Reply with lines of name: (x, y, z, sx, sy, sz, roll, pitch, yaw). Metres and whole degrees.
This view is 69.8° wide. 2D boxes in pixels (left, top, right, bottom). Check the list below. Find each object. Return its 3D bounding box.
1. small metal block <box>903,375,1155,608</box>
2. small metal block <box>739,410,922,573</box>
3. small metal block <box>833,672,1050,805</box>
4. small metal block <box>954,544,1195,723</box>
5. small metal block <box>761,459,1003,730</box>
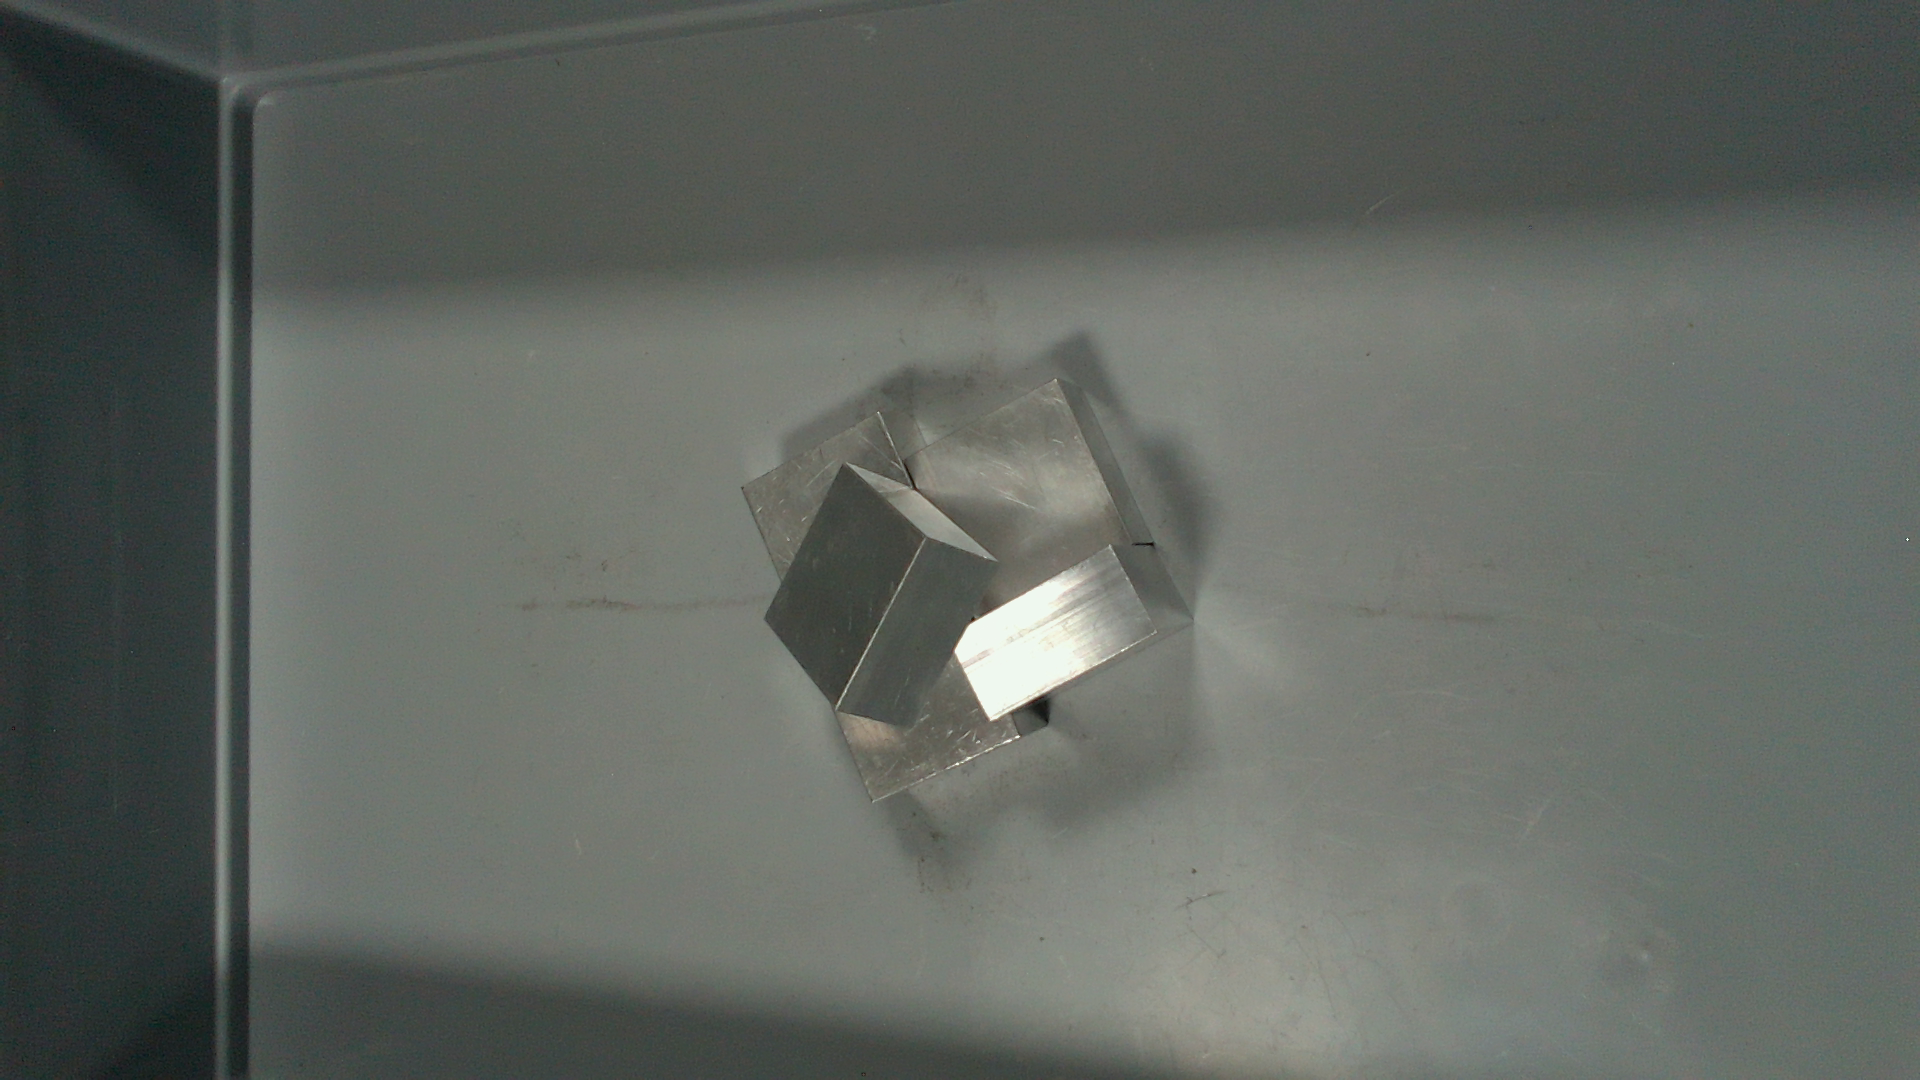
small metal block: (0.020, -0.011, 0.388, 0.050, 0.025, 0.050, -26, 81, 18)
small metal block: (-0.030, -0.004, 0.405, 0.050, 0.025, 0.050, -26, 81, 18)
small metal block: (-0.010, 0.042, 0.398, 0.050, 0.025, 0.050, -26, 81, 18)
small metal block: (0.031, 0.024, 0.370, 0.050, 0.050, 0.025, -30, 80, 17)
small metal block: (-0.022, 0.014, 0.363, 0.050, 0.025, 0.050, 41, 106, 51)
